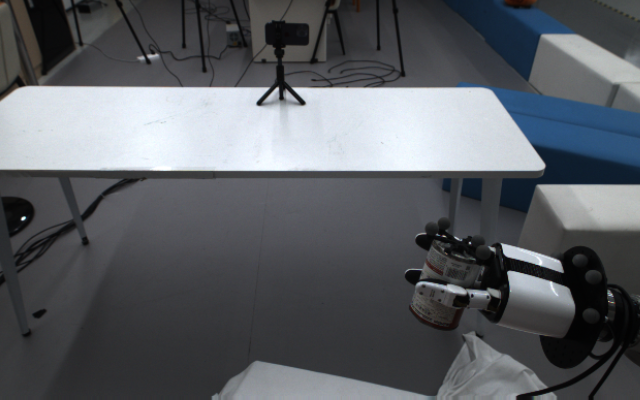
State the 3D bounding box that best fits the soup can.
[{"bbox_3d":[0.165,0.107,0.629,0.067,0.101,0.067,13,18,-4],"label":"soup can"}]
